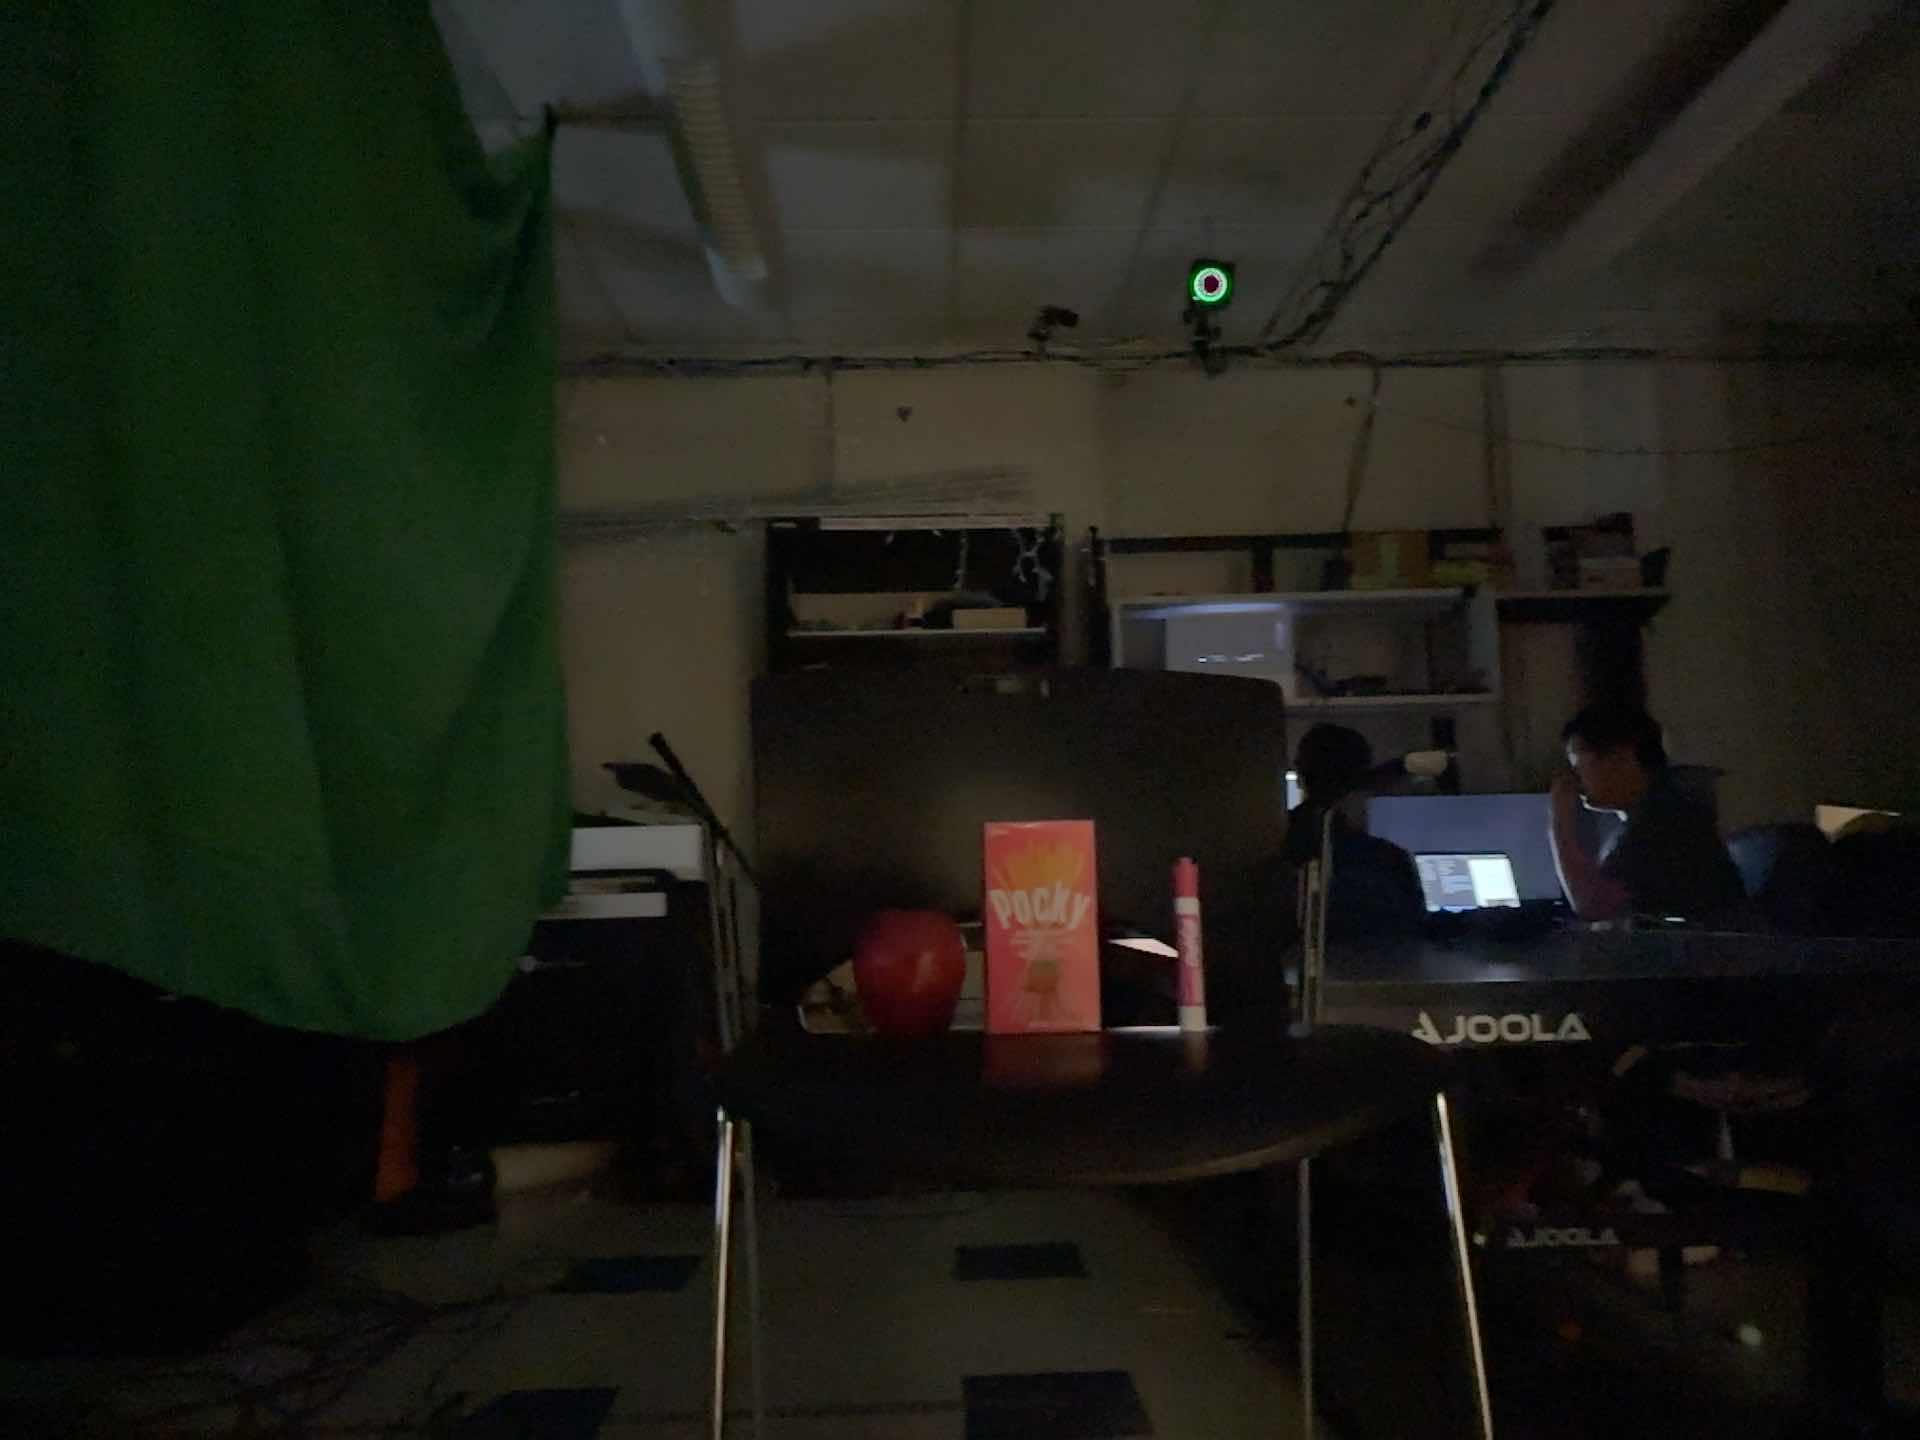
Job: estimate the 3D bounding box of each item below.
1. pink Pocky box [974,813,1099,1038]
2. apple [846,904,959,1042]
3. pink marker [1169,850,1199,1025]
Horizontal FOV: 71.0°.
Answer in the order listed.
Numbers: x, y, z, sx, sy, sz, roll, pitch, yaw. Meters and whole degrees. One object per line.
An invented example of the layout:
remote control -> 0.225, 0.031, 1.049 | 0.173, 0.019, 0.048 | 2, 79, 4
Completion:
pink Pocky box -> 0.053, 0.143, 0.946 | 0.084, 0.155, 0.029 | 0, -5, -4
apple -> -0.039, 0.174, 0.932 | 0.079, 0.093, 0.079 | -1, -10, 0
pink marker -> 0.158, 0.152, 0.951 | 0.020, 0.121, 0.020 | 0, -6, 0
